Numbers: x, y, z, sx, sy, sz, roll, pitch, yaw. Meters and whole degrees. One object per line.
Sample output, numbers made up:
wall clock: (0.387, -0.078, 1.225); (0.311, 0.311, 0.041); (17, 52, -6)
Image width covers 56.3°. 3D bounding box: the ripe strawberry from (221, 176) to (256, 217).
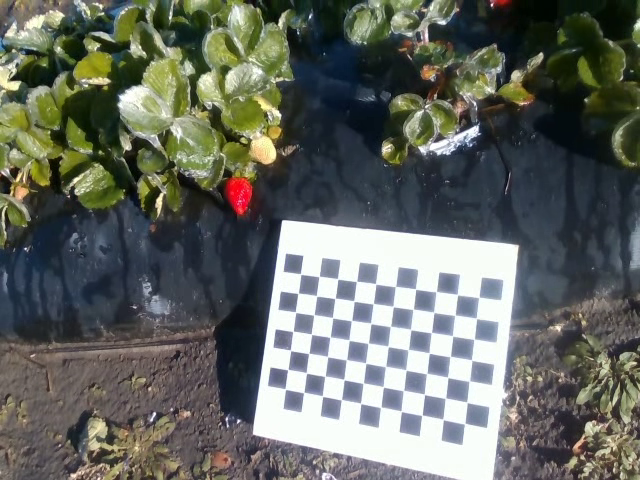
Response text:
ripe strawberry: (-0.109, -0.058, 0.766); (0.041, 0.052, 0.040); (-11, -16, 12)
